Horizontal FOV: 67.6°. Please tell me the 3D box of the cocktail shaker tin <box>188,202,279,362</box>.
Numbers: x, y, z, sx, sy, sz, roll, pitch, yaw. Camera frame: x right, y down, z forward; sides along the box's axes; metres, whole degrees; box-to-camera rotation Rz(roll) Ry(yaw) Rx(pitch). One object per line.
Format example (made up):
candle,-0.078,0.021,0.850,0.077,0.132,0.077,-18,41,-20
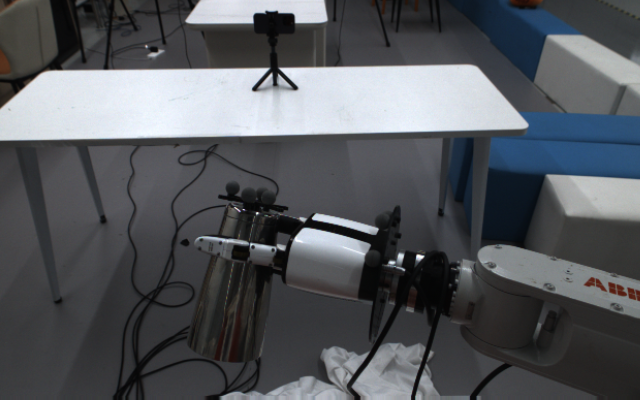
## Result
cocktail shaker tin,-0.096,0.095,0.584,0.093,0.170,0.093,12,3,-1
